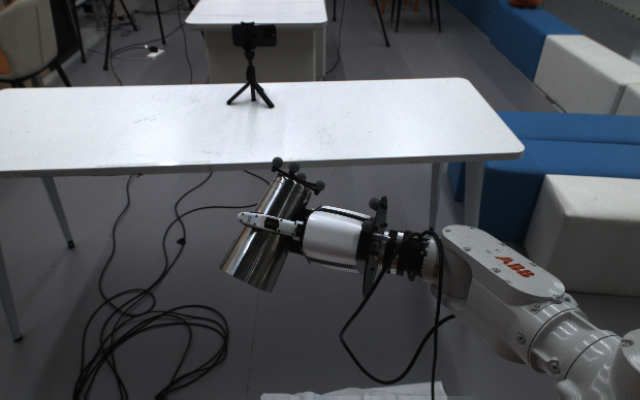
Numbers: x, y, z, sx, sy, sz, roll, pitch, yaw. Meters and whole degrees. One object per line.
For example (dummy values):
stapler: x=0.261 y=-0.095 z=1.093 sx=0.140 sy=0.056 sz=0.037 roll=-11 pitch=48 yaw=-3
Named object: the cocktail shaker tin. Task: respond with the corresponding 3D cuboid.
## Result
cocktail shaker tin: x=-0.078 y=0.047 z=0.766 sx=0.093 sy=0.093 sz=0.170 roll=21 pitch=81 yaw=25
